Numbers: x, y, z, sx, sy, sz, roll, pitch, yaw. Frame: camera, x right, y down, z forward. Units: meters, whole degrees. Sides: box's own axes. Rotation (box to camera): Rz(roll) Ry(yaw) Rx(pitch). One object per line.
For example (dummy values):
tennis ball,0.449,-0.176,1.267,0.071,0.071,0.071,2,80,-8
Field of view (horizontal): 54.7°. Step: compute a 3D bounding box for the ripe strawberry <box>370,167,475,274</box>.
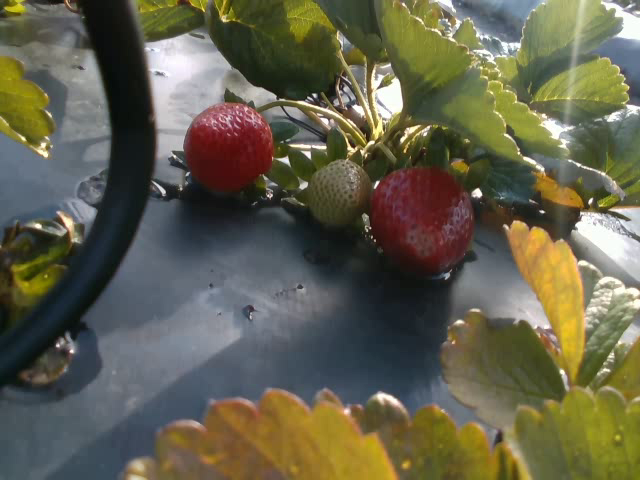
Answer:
ripe strawberry,0.042,-0.008,0.255,0.048,0.050,0.065,-20,28,22
